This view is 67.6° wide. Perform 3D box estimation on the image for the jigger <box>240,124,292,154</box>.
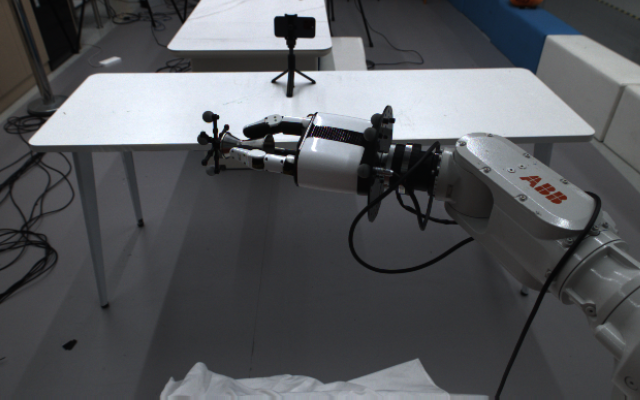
[{"bbox_3d":[-0.099,-0.079,0.705,0.071,0.043,0.043,6,35,15],"label":"jigger"}]
